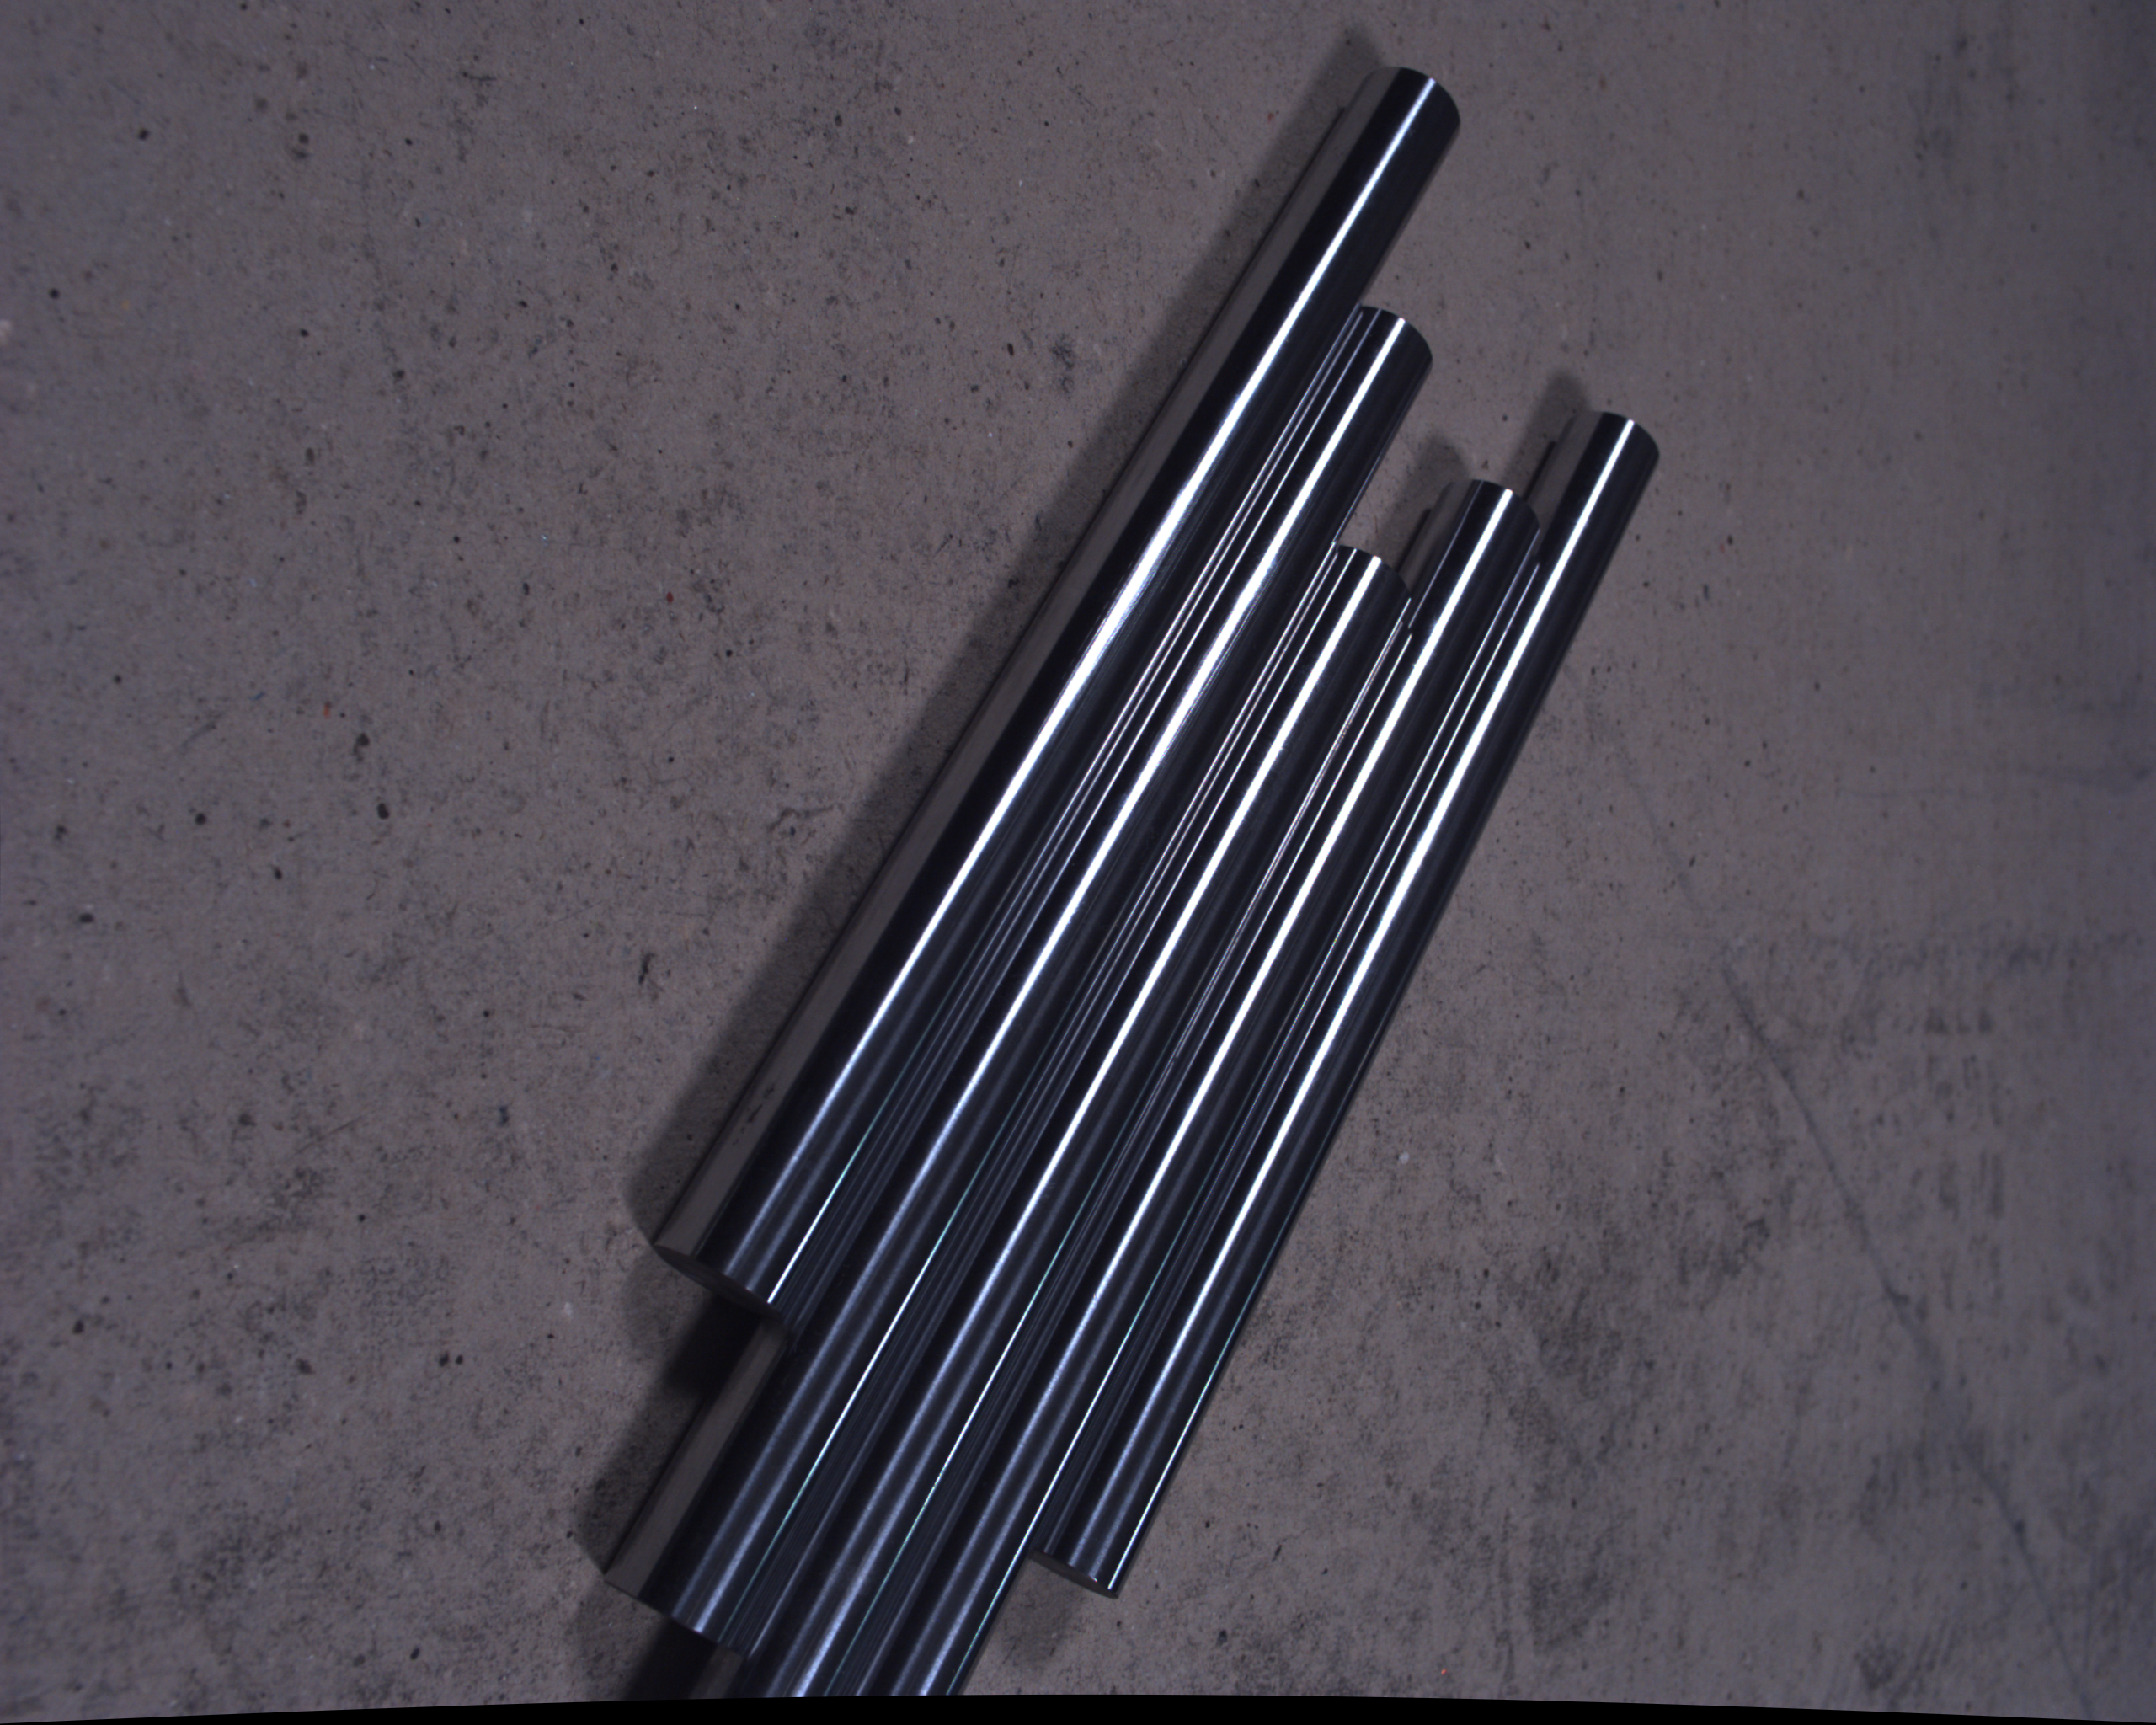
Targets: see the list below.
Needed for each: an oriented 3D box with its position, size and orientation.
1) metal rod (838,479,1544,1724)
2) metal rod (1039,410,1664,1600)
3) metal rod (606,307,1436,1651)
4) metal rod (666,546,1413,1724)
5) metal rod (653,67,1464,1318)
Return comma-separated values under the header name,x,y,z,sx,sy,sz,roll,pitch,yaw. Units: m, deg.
name,x,y,z,sx,sy,sz,roll,pitch,yaw
metal rod,0.029,0.039,0.433,0.025,0.025,0.300,44,64,-32
metal rod,0.065,0.017,0.463,0.025,0.025,0.300,44,64,-32
metal rod,0.000,0.006,0.408,0.025,0.025,0.300,44,63,-32
metal rod,-0.006,0.059,0.403,0.025,0.025,0.300,44,63,-32
metal rod,0.007,-0.049,0.414,0.025,0.025,0.300,44,64,-32
